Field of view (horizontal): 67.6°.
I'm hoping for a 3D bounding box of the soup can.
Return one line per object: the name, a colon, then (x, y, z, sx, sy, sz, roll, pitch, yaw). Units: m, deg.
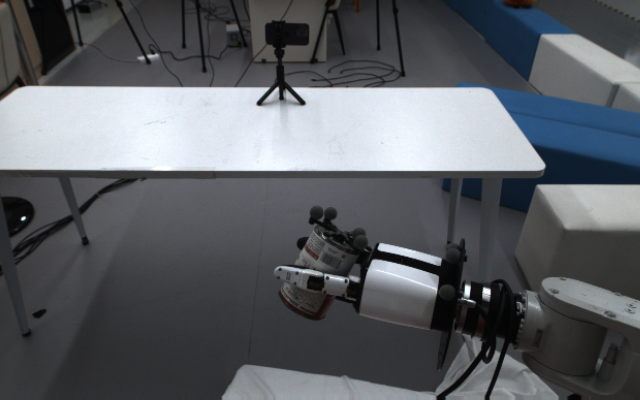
soup can: (0.002, 0.090, 0.613, 0.067, 0.101, 0.067, 27, 10, -5)
